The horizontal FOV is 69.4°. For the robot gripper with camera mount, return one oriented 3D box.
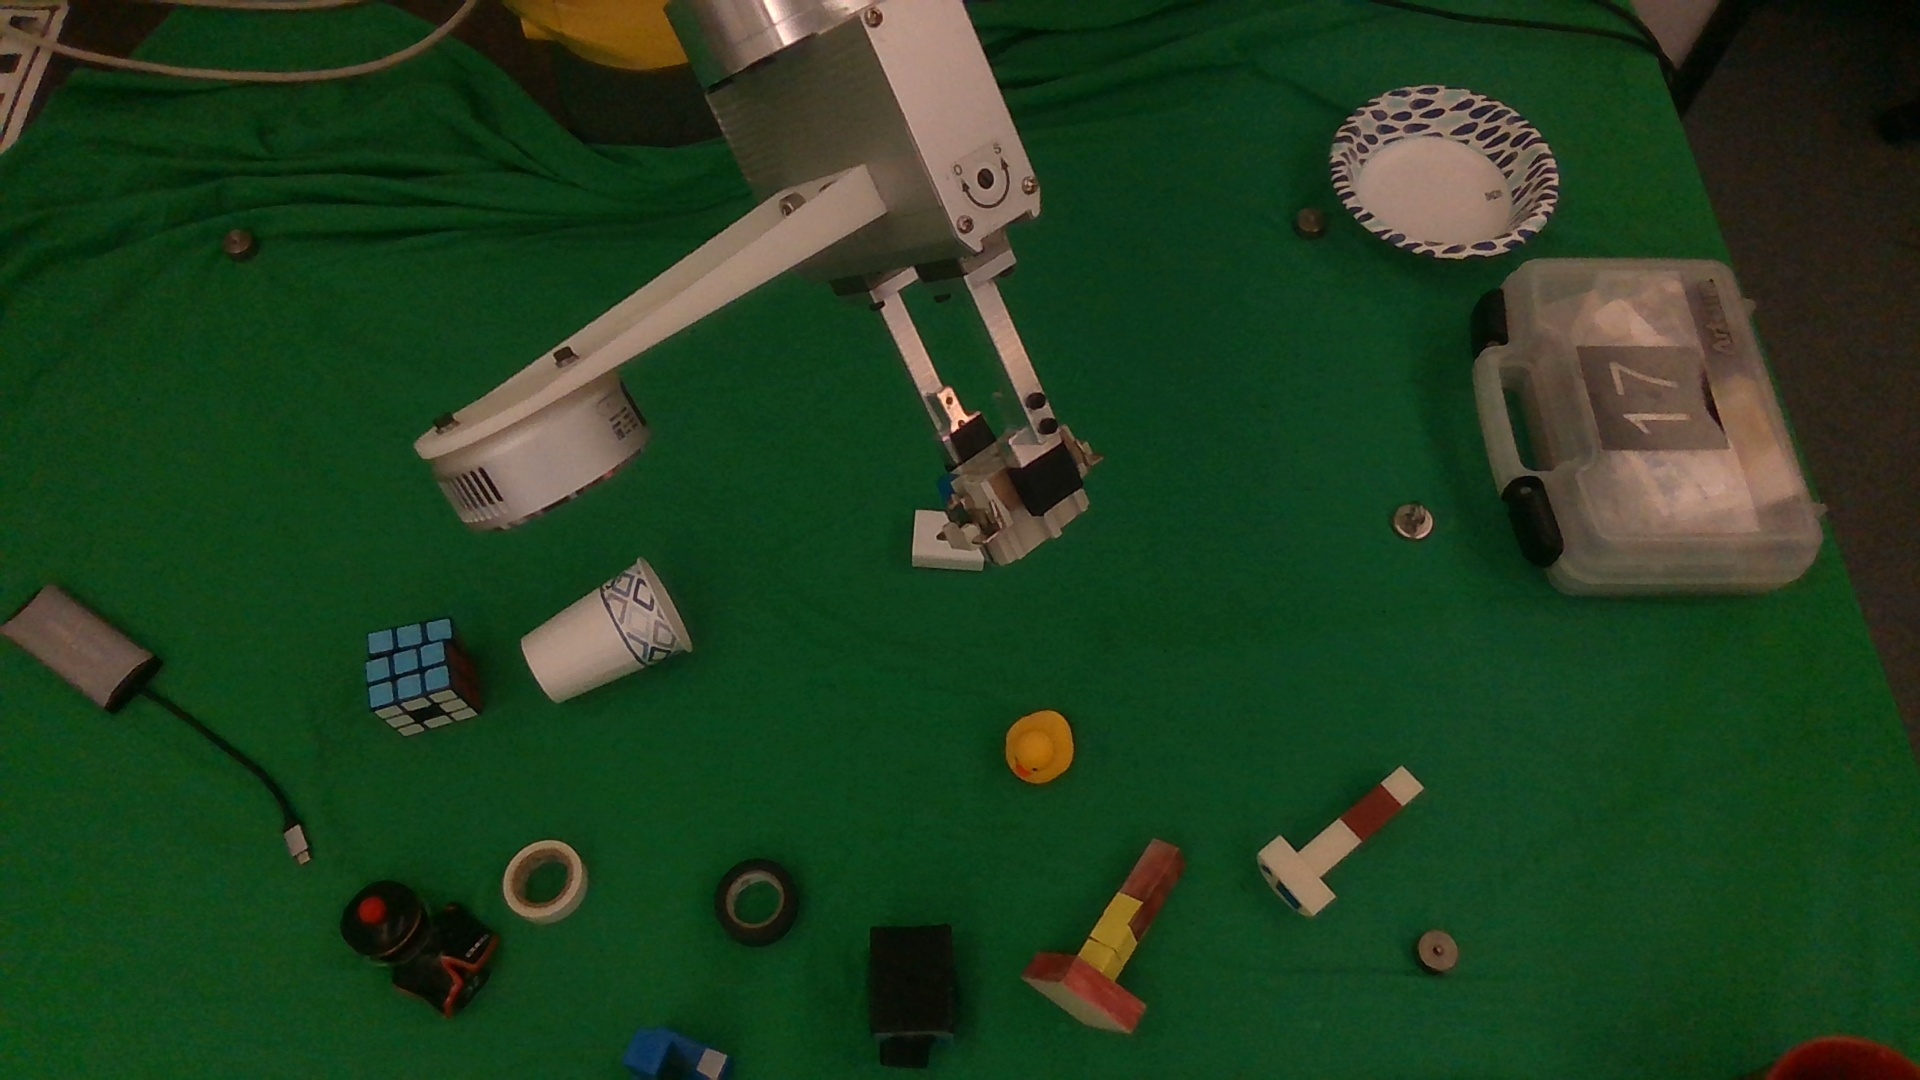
[{"bbox_3d":[-0.058,-0.042,0.446,0.193,0.119,0.158,-35,112,-26],"label":"robot gripper with camera mount"}]

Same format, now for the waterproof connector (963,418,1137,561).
[{"bbox_3d":[0.032,-0.019,0.507,0.065,0.035,0.037,-32,106,-28],"label":"waterproof connector"}]
